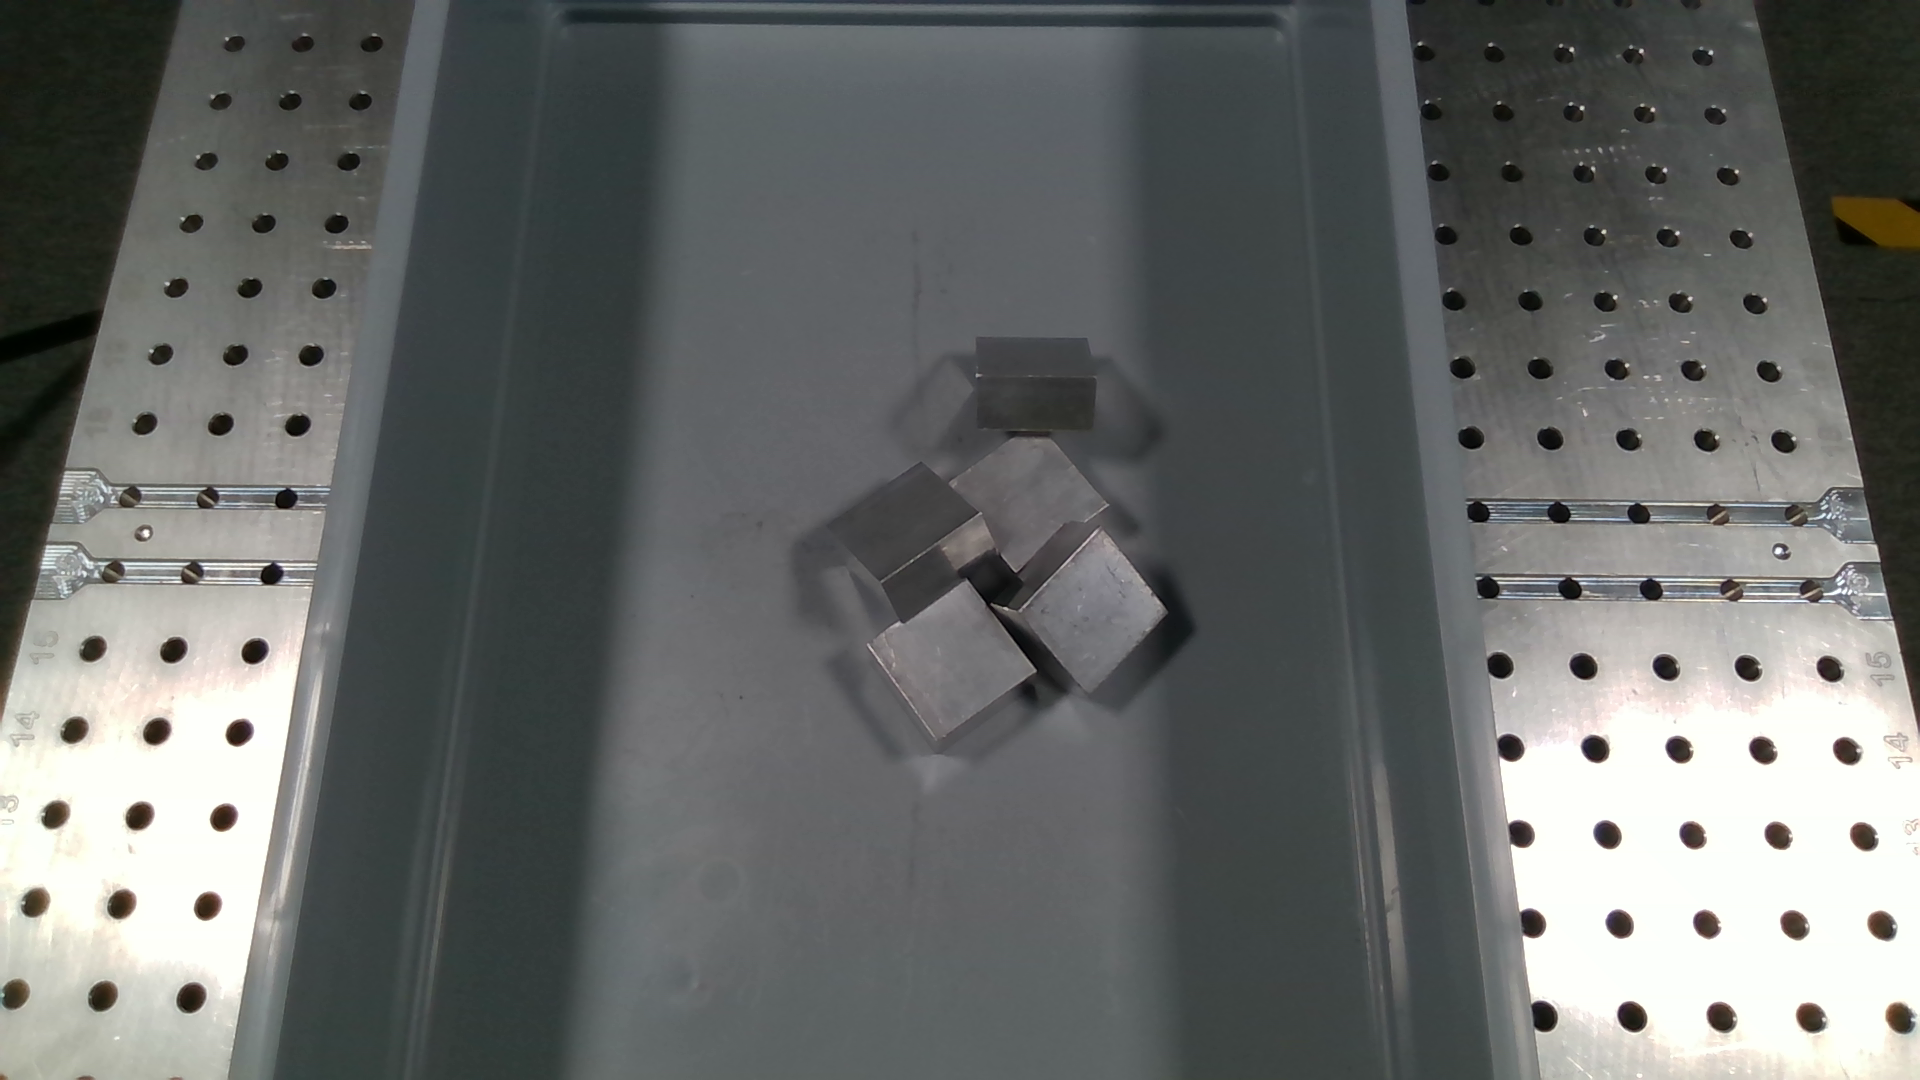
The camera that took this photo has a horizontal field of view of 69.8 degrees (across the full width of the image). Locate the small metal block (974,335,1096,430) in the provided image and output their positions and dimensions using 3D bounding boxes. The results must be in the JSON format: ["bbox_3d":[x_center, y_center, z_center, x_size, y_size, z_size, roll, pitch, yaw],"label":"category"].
[{"bbox_3d":[0.031,-0.069,0.597,0.050,0.025,0.050,1,27,0],"label":"small metal block"}]

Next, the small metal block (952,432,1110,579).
[{"bbox_3d":[0.028,-0.015,0.592,0.050,0.025,0.050,-36,74,-12],"label":"small metal block"}]

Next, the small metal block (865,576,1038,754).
[{"bbox_3d":[-0.004,0.051,0.568,0.050,0.025,0.050,-34,74,-11],"label":"small metal block"}]

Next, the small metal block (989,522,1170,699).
[{"bbox_3d":[0.049,0.028,0.565,0.050,0.025,0.050,-45,111,-14],"label":"small metal block"}]

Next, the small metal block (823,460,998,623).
[{"bbox_3d":[-0.021,0.000,0.575,0.050,0.025,0.050,-35,42,-12],"label":"small metal block"}]
